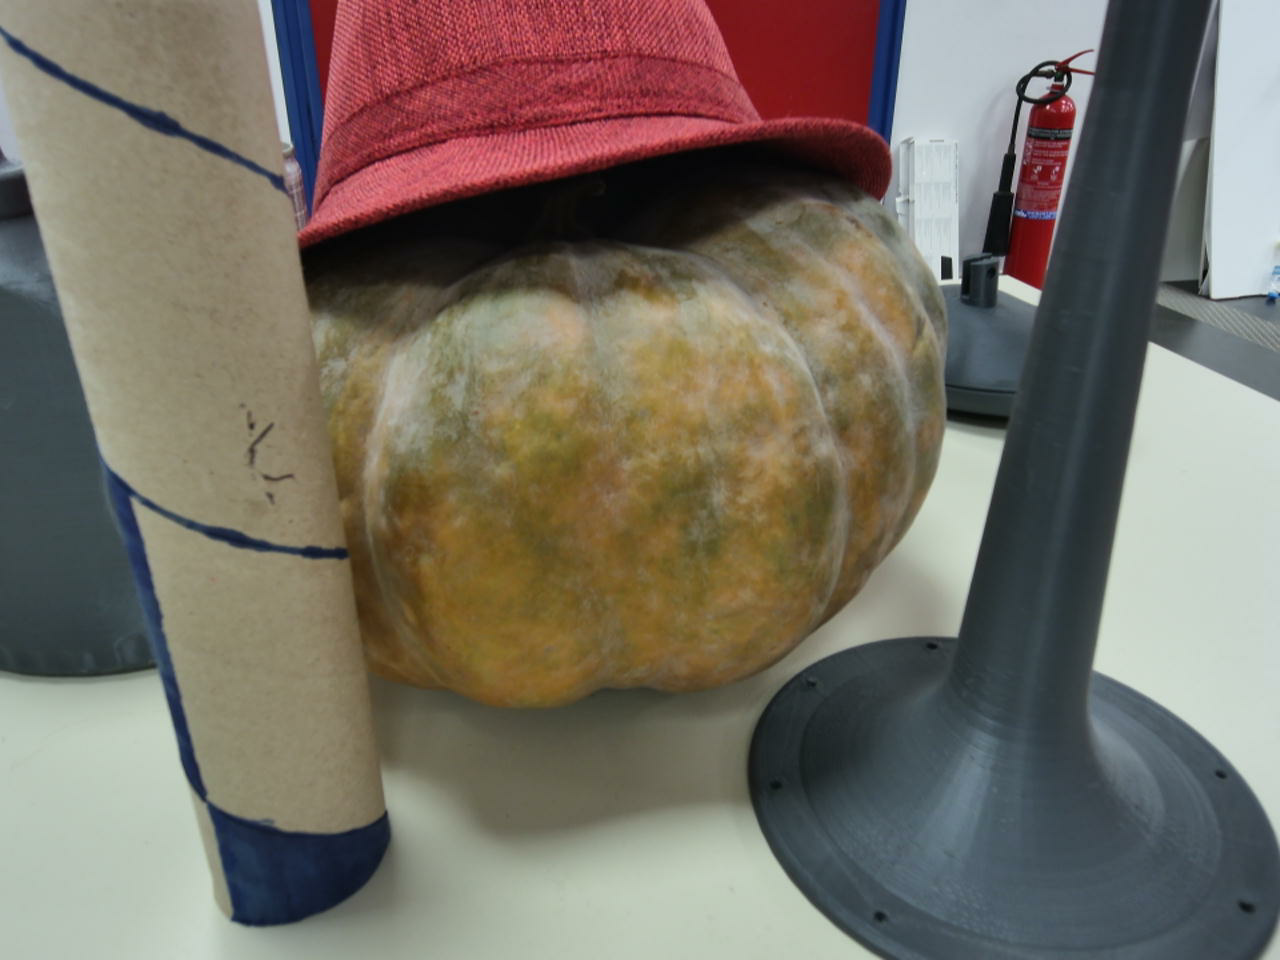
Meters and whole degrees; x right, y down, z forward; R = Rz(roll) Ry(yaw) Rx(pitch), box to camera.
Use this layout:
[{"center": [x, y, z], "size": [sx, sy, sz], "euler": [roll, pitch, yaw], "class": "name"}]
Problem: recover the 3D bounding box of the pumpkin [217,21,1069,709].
[{"center": [-0.022, -0.025, 0.360], "size": [0.252, 0.169, 0.251], "euler": [0, 25, 0], "class": "pumpkin"}]
